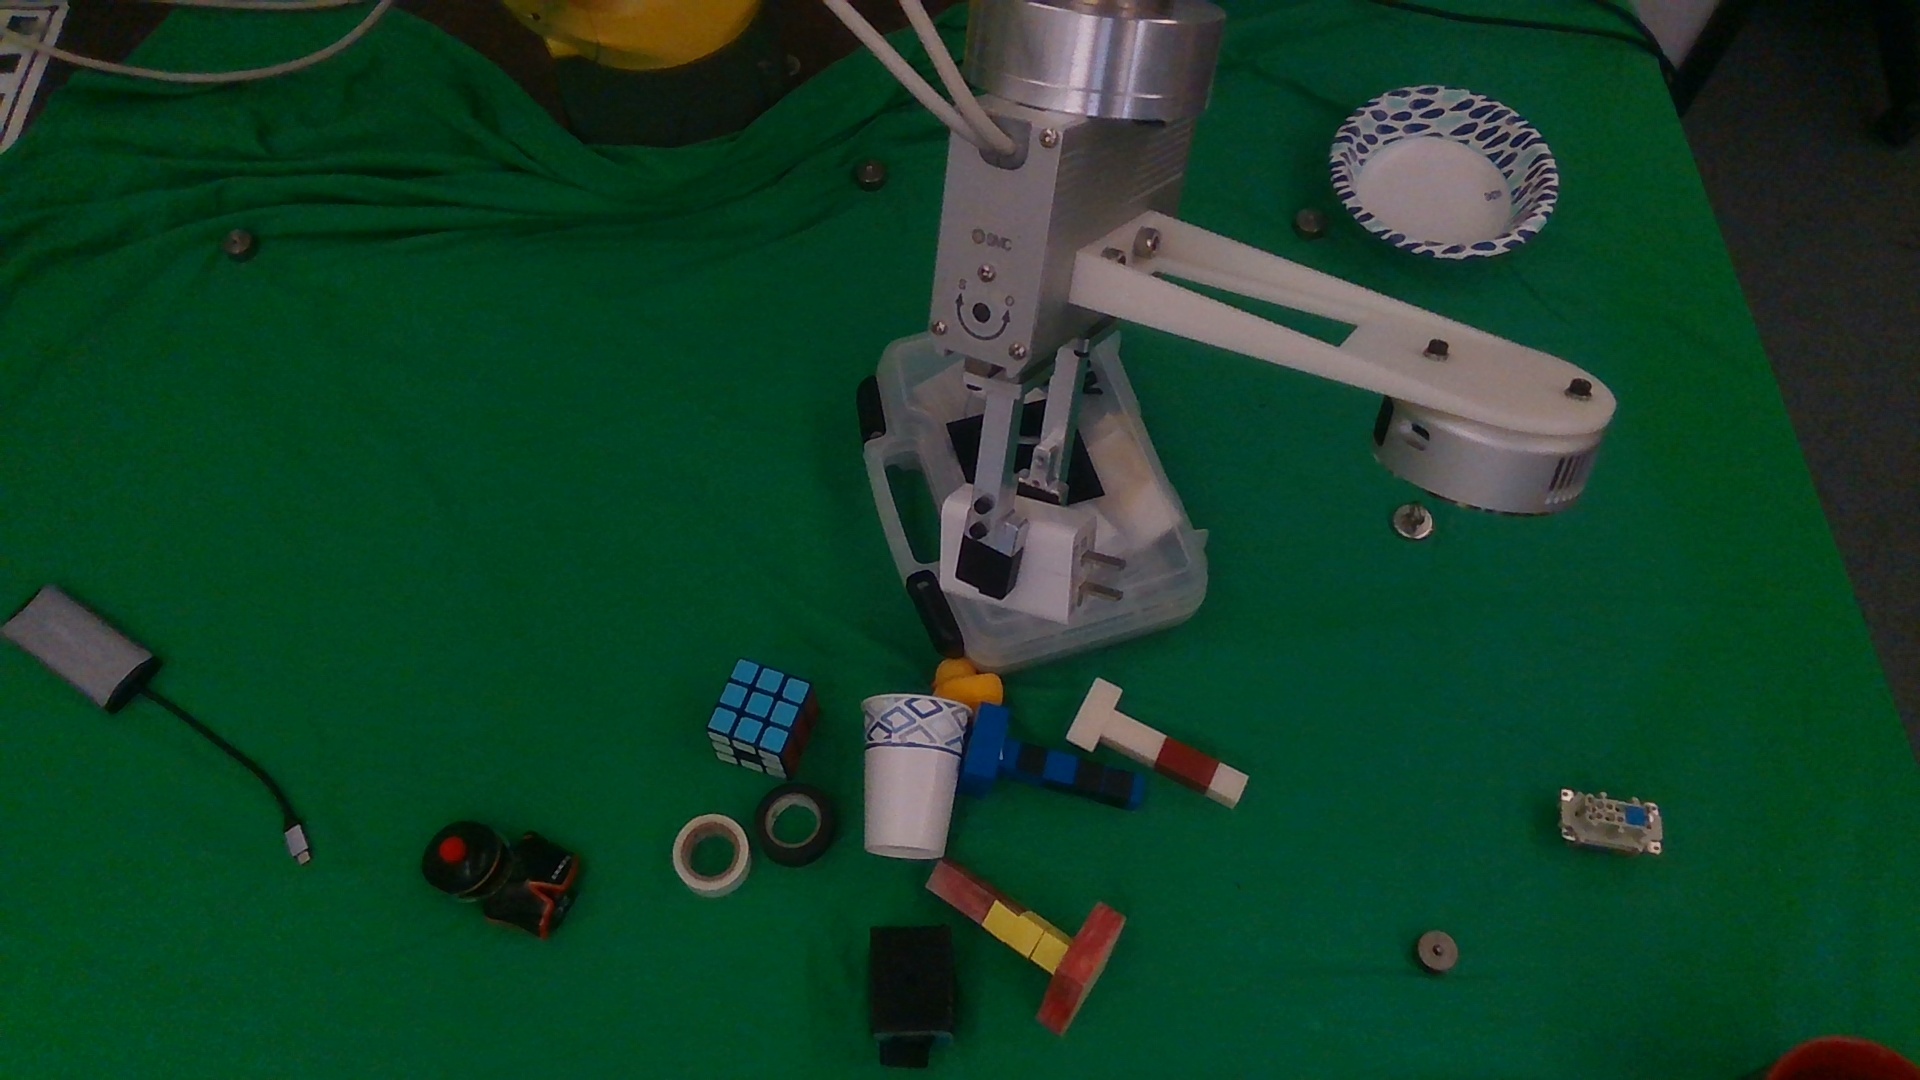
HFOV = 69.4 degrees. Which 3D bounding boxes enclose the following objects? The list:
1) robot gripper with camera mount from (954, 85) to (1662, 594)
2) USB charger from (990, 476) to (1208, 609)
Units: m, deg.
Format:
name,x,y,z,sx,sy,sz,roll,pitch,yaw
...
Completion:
name,x,y,z,sx,sy,sz,roll,pitch,yaw
robot gripper with camera mount,0.107,-0.036,0.439,0.194,0.158,0.118,20,33,23
USB charger,0.050,0.001,0.495,0.076,0.044,0.029,6,34,22
